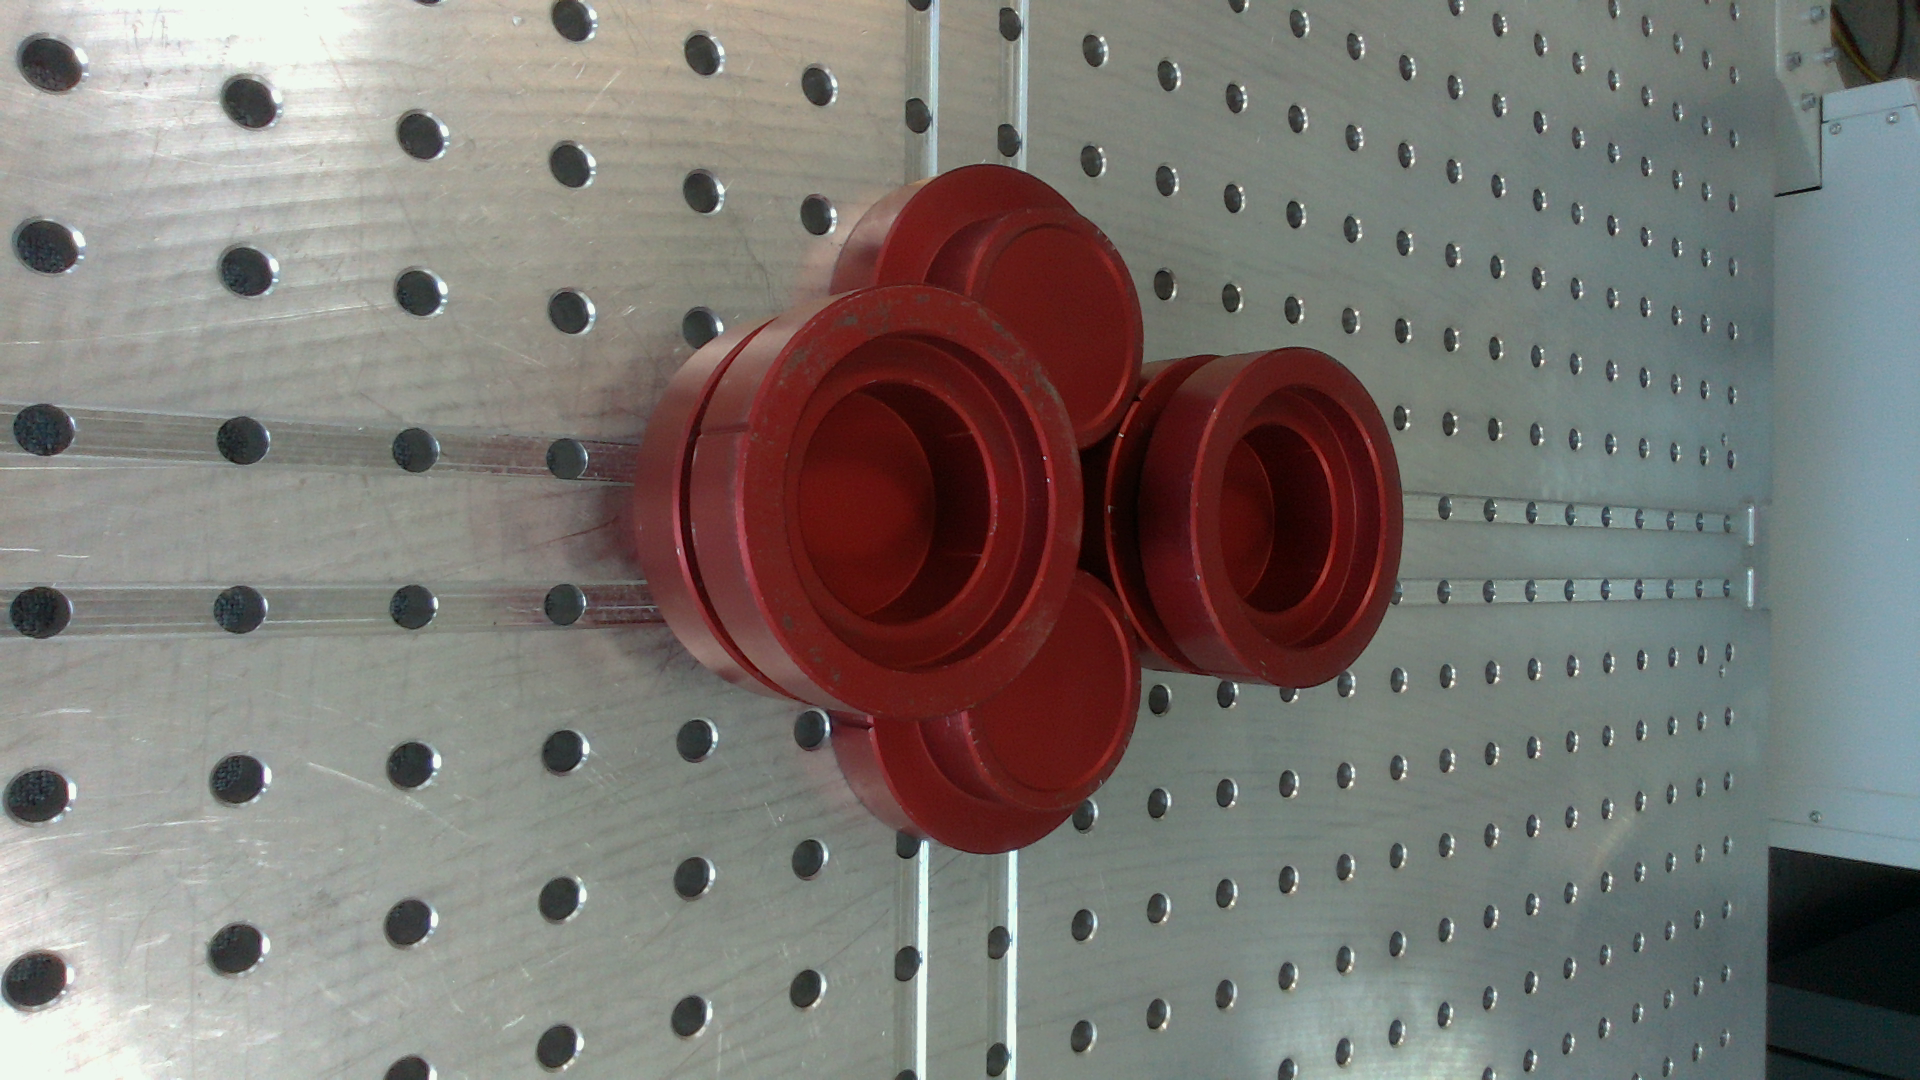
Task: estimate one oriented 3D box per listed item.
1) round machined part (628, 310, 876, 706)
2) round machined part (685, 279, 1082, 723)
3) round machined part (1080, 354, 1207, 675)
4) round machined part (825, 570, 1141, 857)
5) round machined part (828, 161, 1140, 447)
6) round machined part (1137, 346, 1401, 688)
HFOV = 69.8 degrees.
[{"bbox_3d":[-0.039,-0.008,0.347,0.098,0.042,0.098,0,90,-40],"label":"round machined part"},{"bbox_3d":[-0.021,-0.009,0.321,0.098,0.042,0.098,0,90,-40],"label":"round machined part"},{"bbox_3d":[0.066,-0.008,0.434,0.098,0.042,0.098,0,90,-40],"label":"round machined part"},{"bbox_3d":[0.013,0.041,0.391,0.098,0.042,0.098,0,90,-40],"label":"round machined part"},{"bbox_3d":[0.013,-0.058,0.391,0.098,0.042,0.098,0,90,-40],"label":"round machined part"},{"bbox_3d":[0.086,-0.006,0.410,0.098,0.042,0.098,0,90,-40],"label":"round machined part"}]
